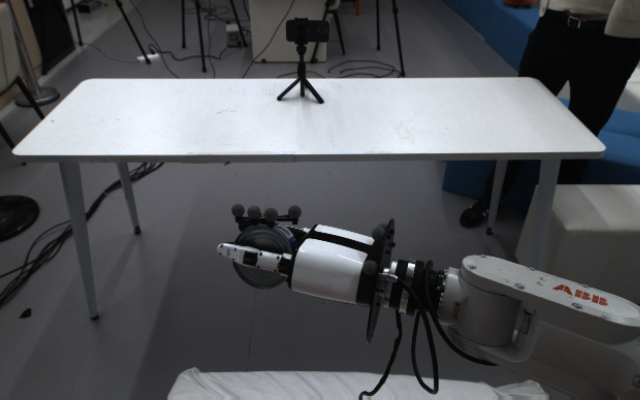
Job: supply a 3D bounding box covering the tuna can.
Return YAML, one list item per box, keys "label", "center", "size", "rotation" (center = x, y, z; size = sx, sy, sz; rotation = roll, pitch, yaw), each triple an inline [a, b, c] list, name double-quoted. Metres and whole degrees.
- label: "tuna can"
  center: [-0.069, 0.073, 0.643]
  size: [0.085, 0.085, 0.034]
  rotation: [12, 8, 14]
